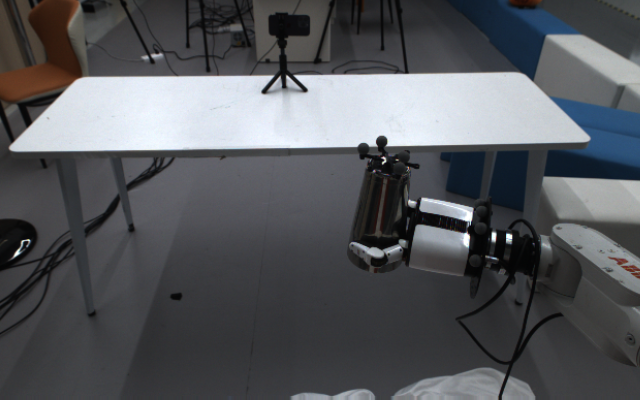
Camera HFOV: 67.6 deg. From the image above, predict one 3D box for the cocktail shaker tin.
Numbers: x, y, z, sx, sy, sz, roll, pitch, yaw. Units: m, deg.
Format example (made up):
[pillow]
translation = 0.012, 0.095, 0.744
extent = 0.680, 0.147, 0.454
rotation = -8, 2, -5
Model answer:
[cocktail shaker tin]
translation = 0.096, 0.019, 0.754
extent = 0.093, 0.170, 0.093
rotation = 3, 34, -2
